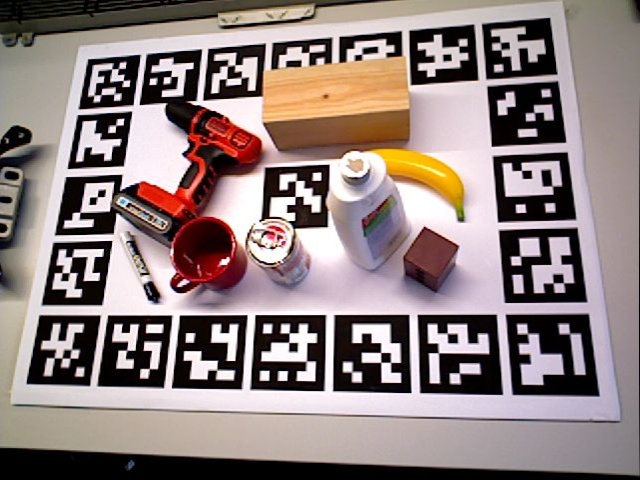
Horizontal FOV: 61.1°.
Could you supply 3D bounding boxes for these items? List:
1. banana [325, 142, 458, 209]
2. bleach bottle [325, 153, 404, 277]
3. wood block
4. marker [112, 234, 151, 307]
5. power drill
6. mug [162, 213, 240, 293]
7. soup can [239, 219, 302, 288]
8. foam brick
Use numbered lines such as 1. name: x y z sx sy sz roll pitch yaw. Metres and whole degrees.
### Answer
1. banana: 0.105 -0.101 0.764 0.197 0.039 0.074 15 88 12
2. bleach bottle: 0.053 -0.039 0.641 0.068 0.253 0.102 28 75 18
3. wood block: 0.025 -0.191 0.784 0.206 0.091 0.089 -2 71 9
4. marker: -0.276 0.044 0.797 0.019 0.020 0.120 -30 70 0
5. power drill: -0.206 -0.103 0.817 0.184 0.058 0.185 28 77 14
6. mug: -0.167 0.028 0.747 0.093 0.082 0.117 43 85 18
7. soup can: -0.062 0.016 0.716 0.068 0.103 0.067 -3 66 6
8. foam brick: 0.141 0.034 0.696 0.053 0.079 0.051 33 76 20
